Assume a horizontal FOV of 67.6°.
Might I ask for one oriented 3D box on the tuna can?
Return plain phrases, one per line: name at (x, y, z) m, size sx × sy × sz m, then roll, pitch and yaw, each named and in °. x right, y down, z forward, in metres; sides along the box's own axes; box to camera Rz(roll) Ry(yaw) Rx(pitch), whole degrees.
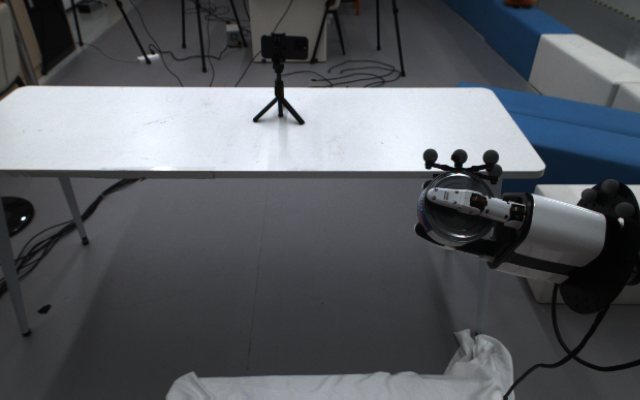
tuna can at (0.160, 0.007, 0.568) m, size 0.085 × 0.034 × 0.085 m, roll 1°, pitch 73°, yaw -4°
